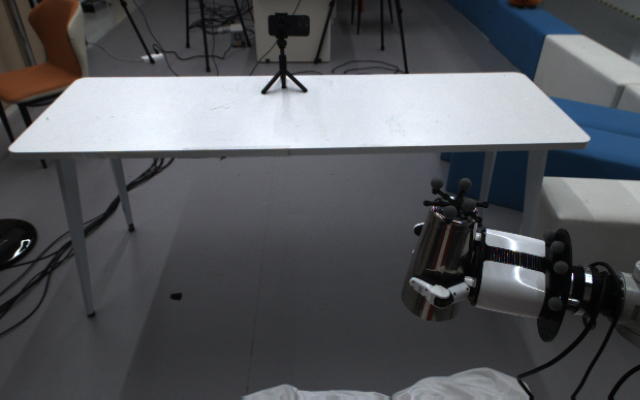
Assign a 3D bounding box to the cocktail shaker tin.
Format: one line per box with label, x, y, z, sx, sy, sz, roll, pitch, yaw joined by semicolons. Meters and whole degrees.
cocktail shaker tin;0.179;0.081;0.700;0.093;0.170;0.093;3;34;-2
